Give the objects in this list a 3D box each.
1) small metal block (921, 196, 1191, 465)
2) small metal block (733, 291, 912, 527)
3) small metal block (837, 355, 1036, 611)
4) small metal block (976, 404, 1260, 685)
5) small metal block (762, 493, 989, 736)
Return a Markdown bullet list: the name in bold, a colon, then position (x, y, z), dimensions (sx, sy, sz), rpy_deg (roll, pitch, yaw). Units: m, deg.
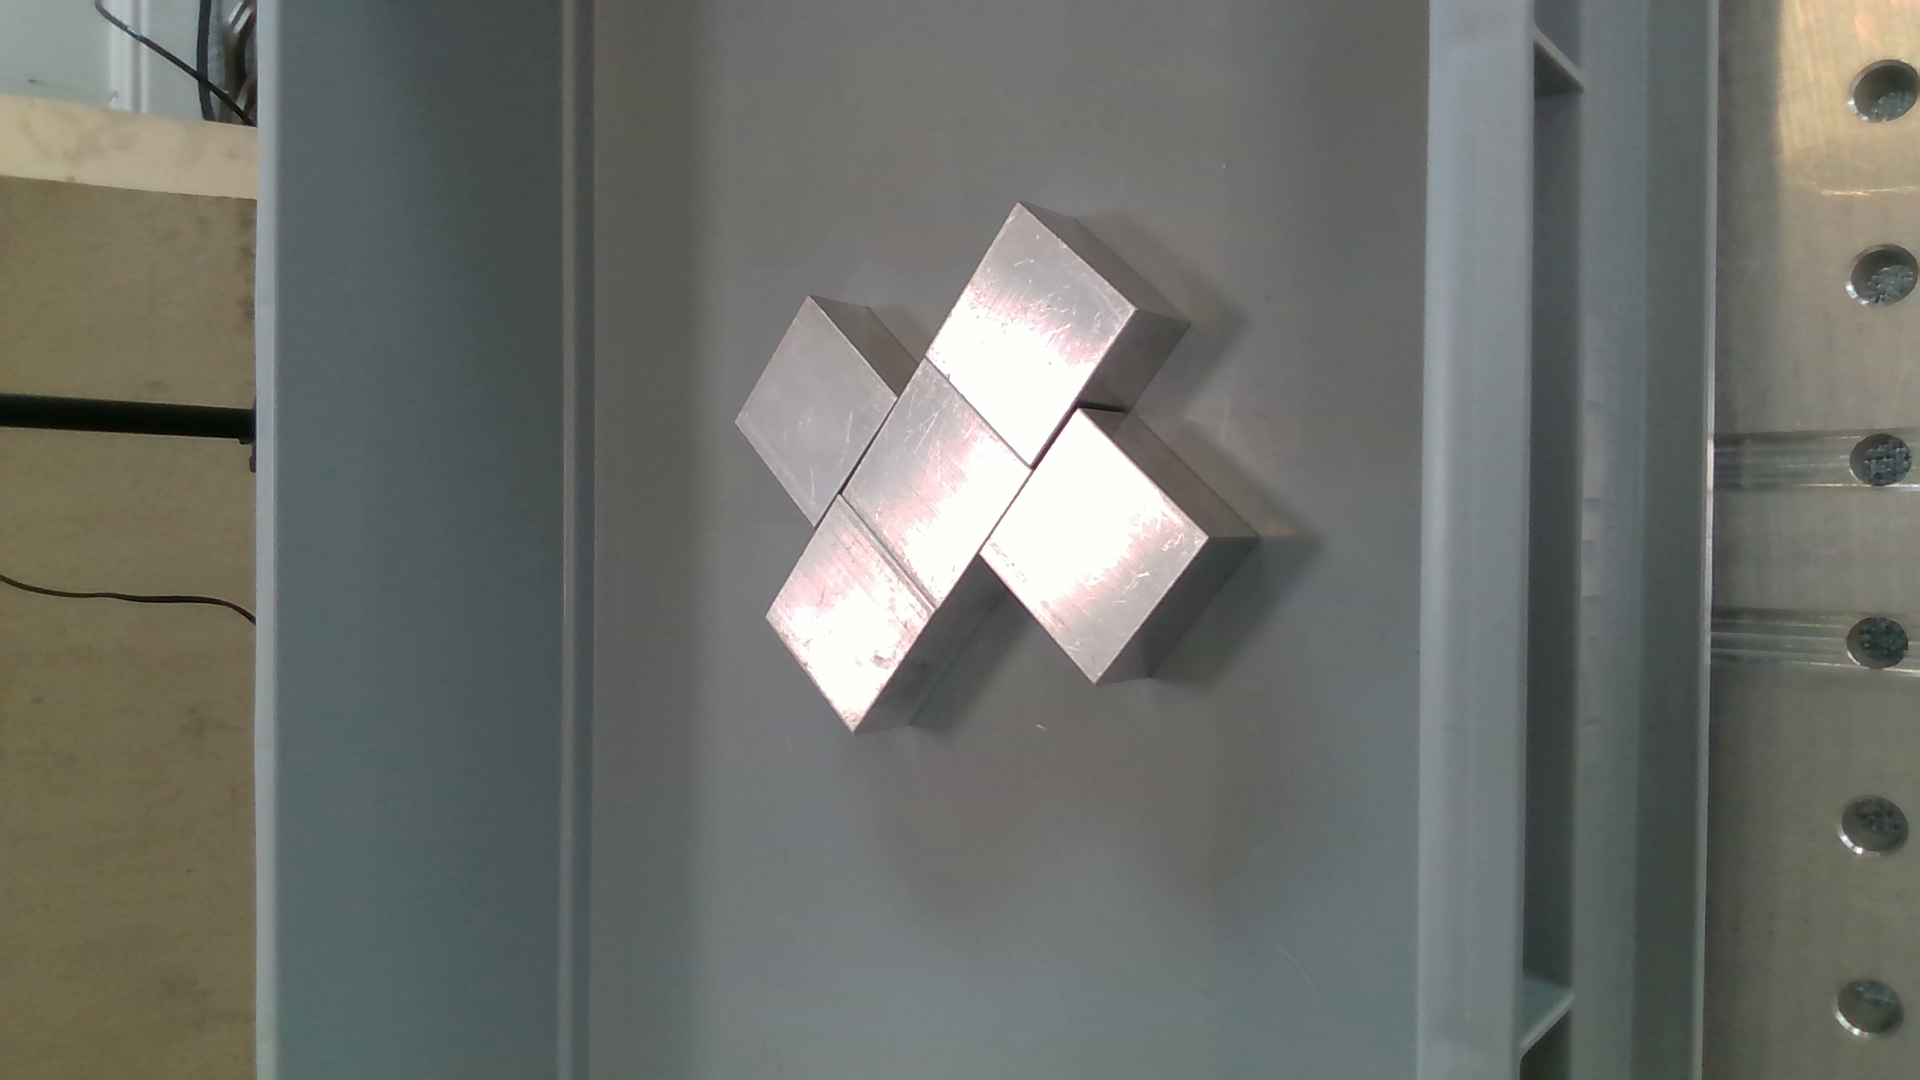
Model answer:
- **small metal block**: position (0.024, -0.055, 0.368), dimensions (0.050, 0.025, 0.050), rpy_deg (49, 119, 29)
- **small metal block**: position (-0.037, -0.039, 0.420), dimensions (0.050, 0.025, 0.050), rpy_deg (51, 120, 29)
- **small metal block**: position (-0.001, -0.016, 0.388), dimensions (0.050, 0.025, 0.050), rpy_deg (49, 119, 29)
- **small metal block**: position (0.040, 0.001, 0.355), dimensions (0.050, 0.025, 0.050), rpy_deg (49, 119, 28)
- **small metal block**: position (-0.026, 0.022, 0.410), dimensions (0.050, 0.025, 0.050), rpy_deg (49, 119, 29)
